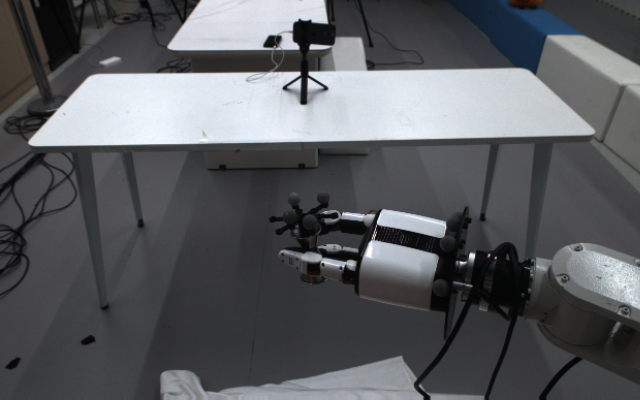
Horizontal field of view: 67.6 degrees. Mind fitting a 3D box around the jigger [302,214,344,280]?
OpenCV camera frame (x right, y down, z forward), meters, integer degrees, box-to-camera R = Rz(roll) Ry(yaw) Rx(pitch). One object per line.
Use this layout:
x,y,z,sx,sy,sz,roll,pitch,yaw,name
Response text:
-0.009,0.066,0.621,0.043,0.071,0.043,-11,23,5,jigger
